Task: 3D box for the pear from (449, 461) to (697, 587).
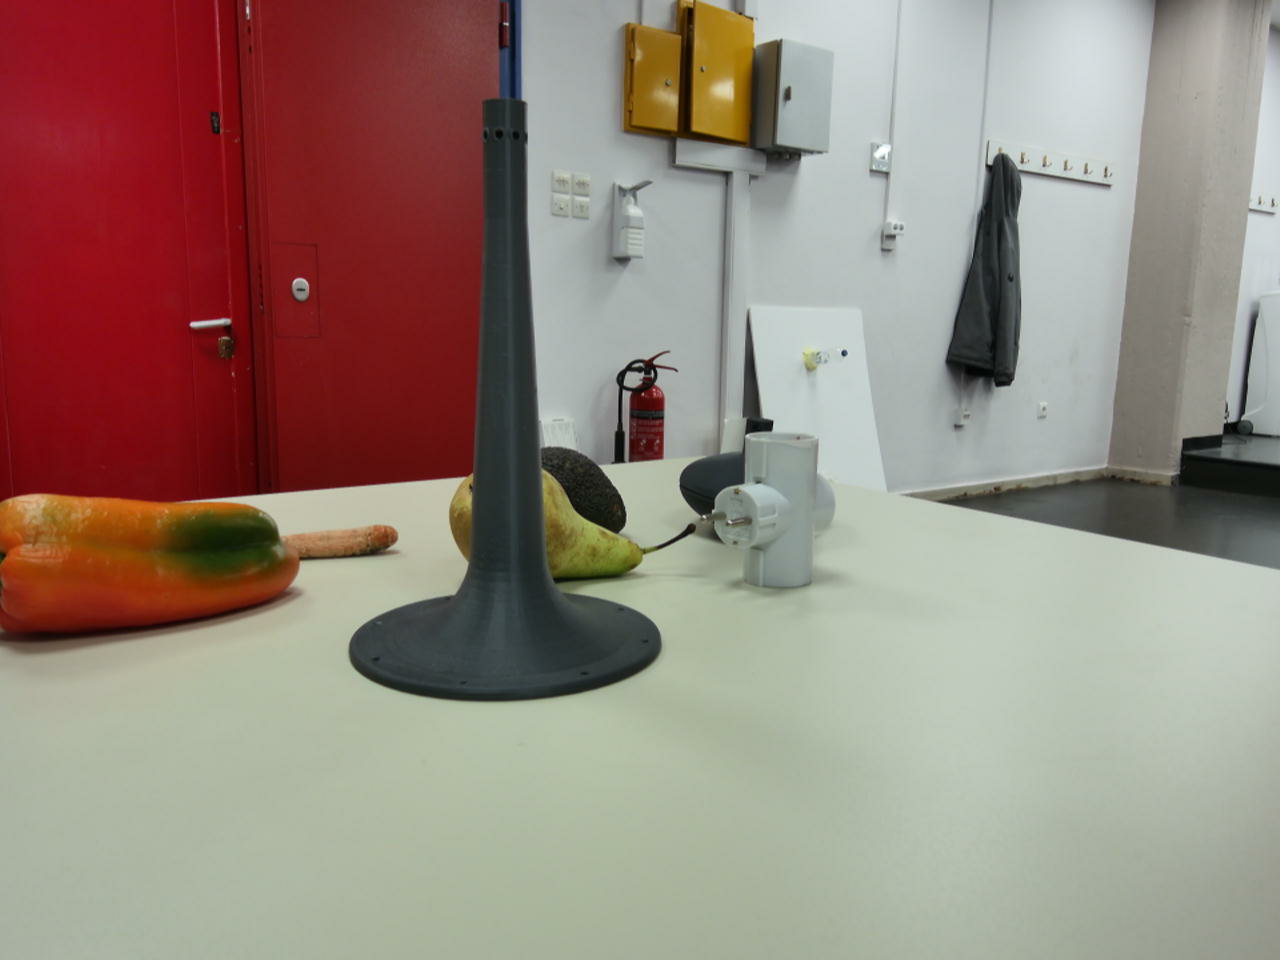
[{"bbox_3d":[-0.046,0.024,0.618,0.144,0.075,0.072,-4,9,-28],"label":"pear"}]
